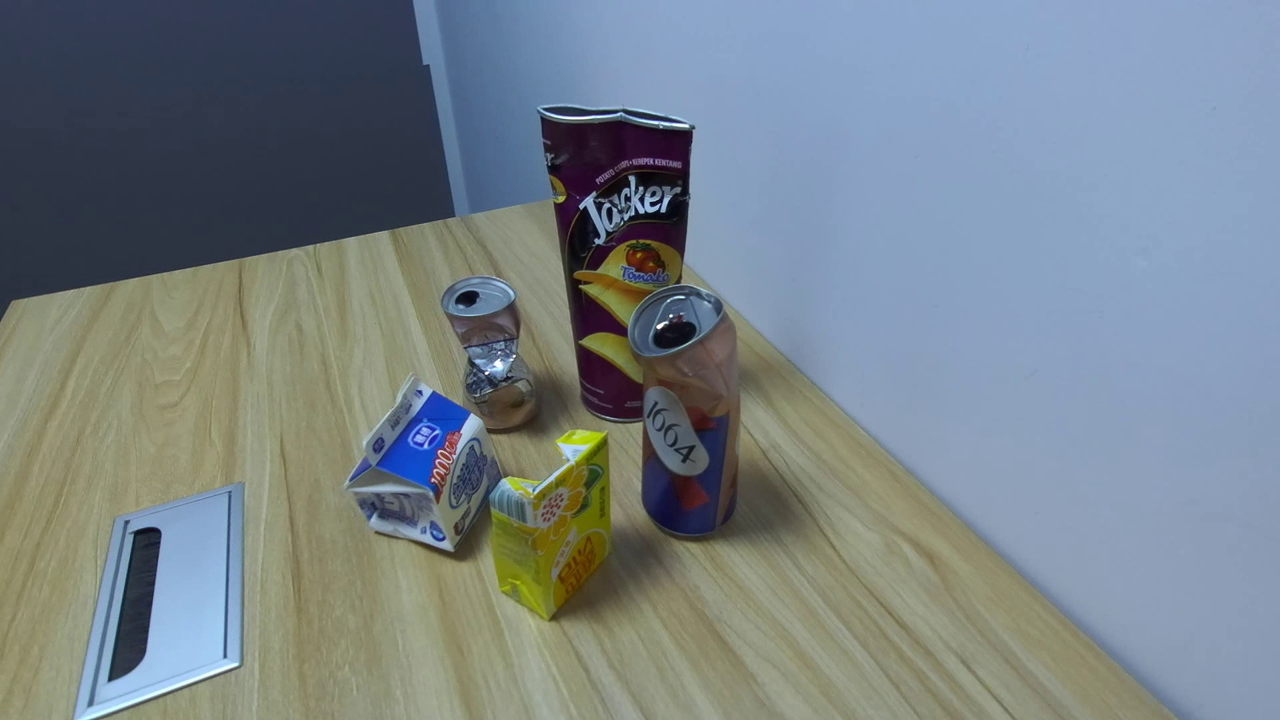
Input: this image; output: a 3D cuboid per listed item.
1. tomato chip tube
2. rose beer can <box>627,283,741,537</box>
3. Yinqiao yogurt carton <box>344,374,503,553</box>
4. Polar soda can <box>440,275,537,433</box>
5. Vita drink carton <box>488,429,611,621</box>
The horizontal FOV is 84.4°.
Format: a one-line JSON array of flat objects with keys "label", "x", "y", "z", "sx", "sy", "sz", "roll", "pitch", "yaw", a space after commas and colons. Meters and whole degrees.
[{"label": "tomato chip tube", "x": -0.016, "y": -0.065, "z": 0.525, "sx": 0.078, "sy": 0.236, "sz": 0.089, "roll": -17, "pitch": 40, "yaw": -18}, {"label": "rose beer can", "x": 0.030, "y": 0.036, "z": 0.441, "sx": 0.069, "sy": 0.168, "sz": 0.070, "roll": 6, "pitch": 41, "yaw": 14}, {"label": "Yinqiao yogurt carton", "x": -0.151, "y": 0.067, "z": 0.468, "sx": 0.080, "sy": 0.097, "sz": 0.074, "roll": 0, "pitch": 35, "yaw": 17}, {"label": "Polar soda can", "x": -0.114, "y": -0.002, "z": 0.550, "sx": 0.074, "sy": 0.114, "sz": 0.070, "roll": 11, "pitch": 41, "yaw": 23}, {"label": "Vita drink carton", "x": -0.053, "y": 0.090, "z": 0.419, "sx": 0.046, "sy": 0.110, "sz": 0.071, "roll": 24, "pitch": 42, "yaw": 28}]
